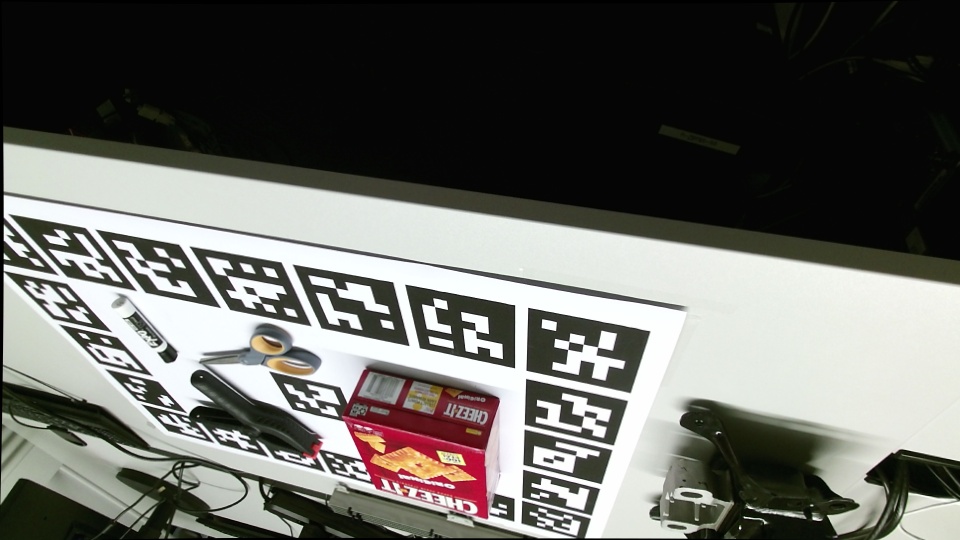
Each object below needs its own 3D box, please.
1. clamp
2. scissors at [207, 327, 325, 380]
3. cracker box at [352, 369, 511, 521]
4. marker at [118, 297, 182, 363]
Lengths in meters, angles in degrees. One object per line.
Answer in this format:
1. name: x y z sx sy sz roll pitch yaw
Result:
1. clamp: -0.315 0.224 0.799 0.203 0.036 0.165 31 139 -11
2. scissors: -0.272 0.107 0.649 0.203 0.016 0.088 -11 132 33
3. cracker box: -0.051 0.220 0.647 0.165 0.072 0.214 11 138 10
4. marker: -0.411 0.080 0.672 0.020 0.019 0.121 8 138 14
